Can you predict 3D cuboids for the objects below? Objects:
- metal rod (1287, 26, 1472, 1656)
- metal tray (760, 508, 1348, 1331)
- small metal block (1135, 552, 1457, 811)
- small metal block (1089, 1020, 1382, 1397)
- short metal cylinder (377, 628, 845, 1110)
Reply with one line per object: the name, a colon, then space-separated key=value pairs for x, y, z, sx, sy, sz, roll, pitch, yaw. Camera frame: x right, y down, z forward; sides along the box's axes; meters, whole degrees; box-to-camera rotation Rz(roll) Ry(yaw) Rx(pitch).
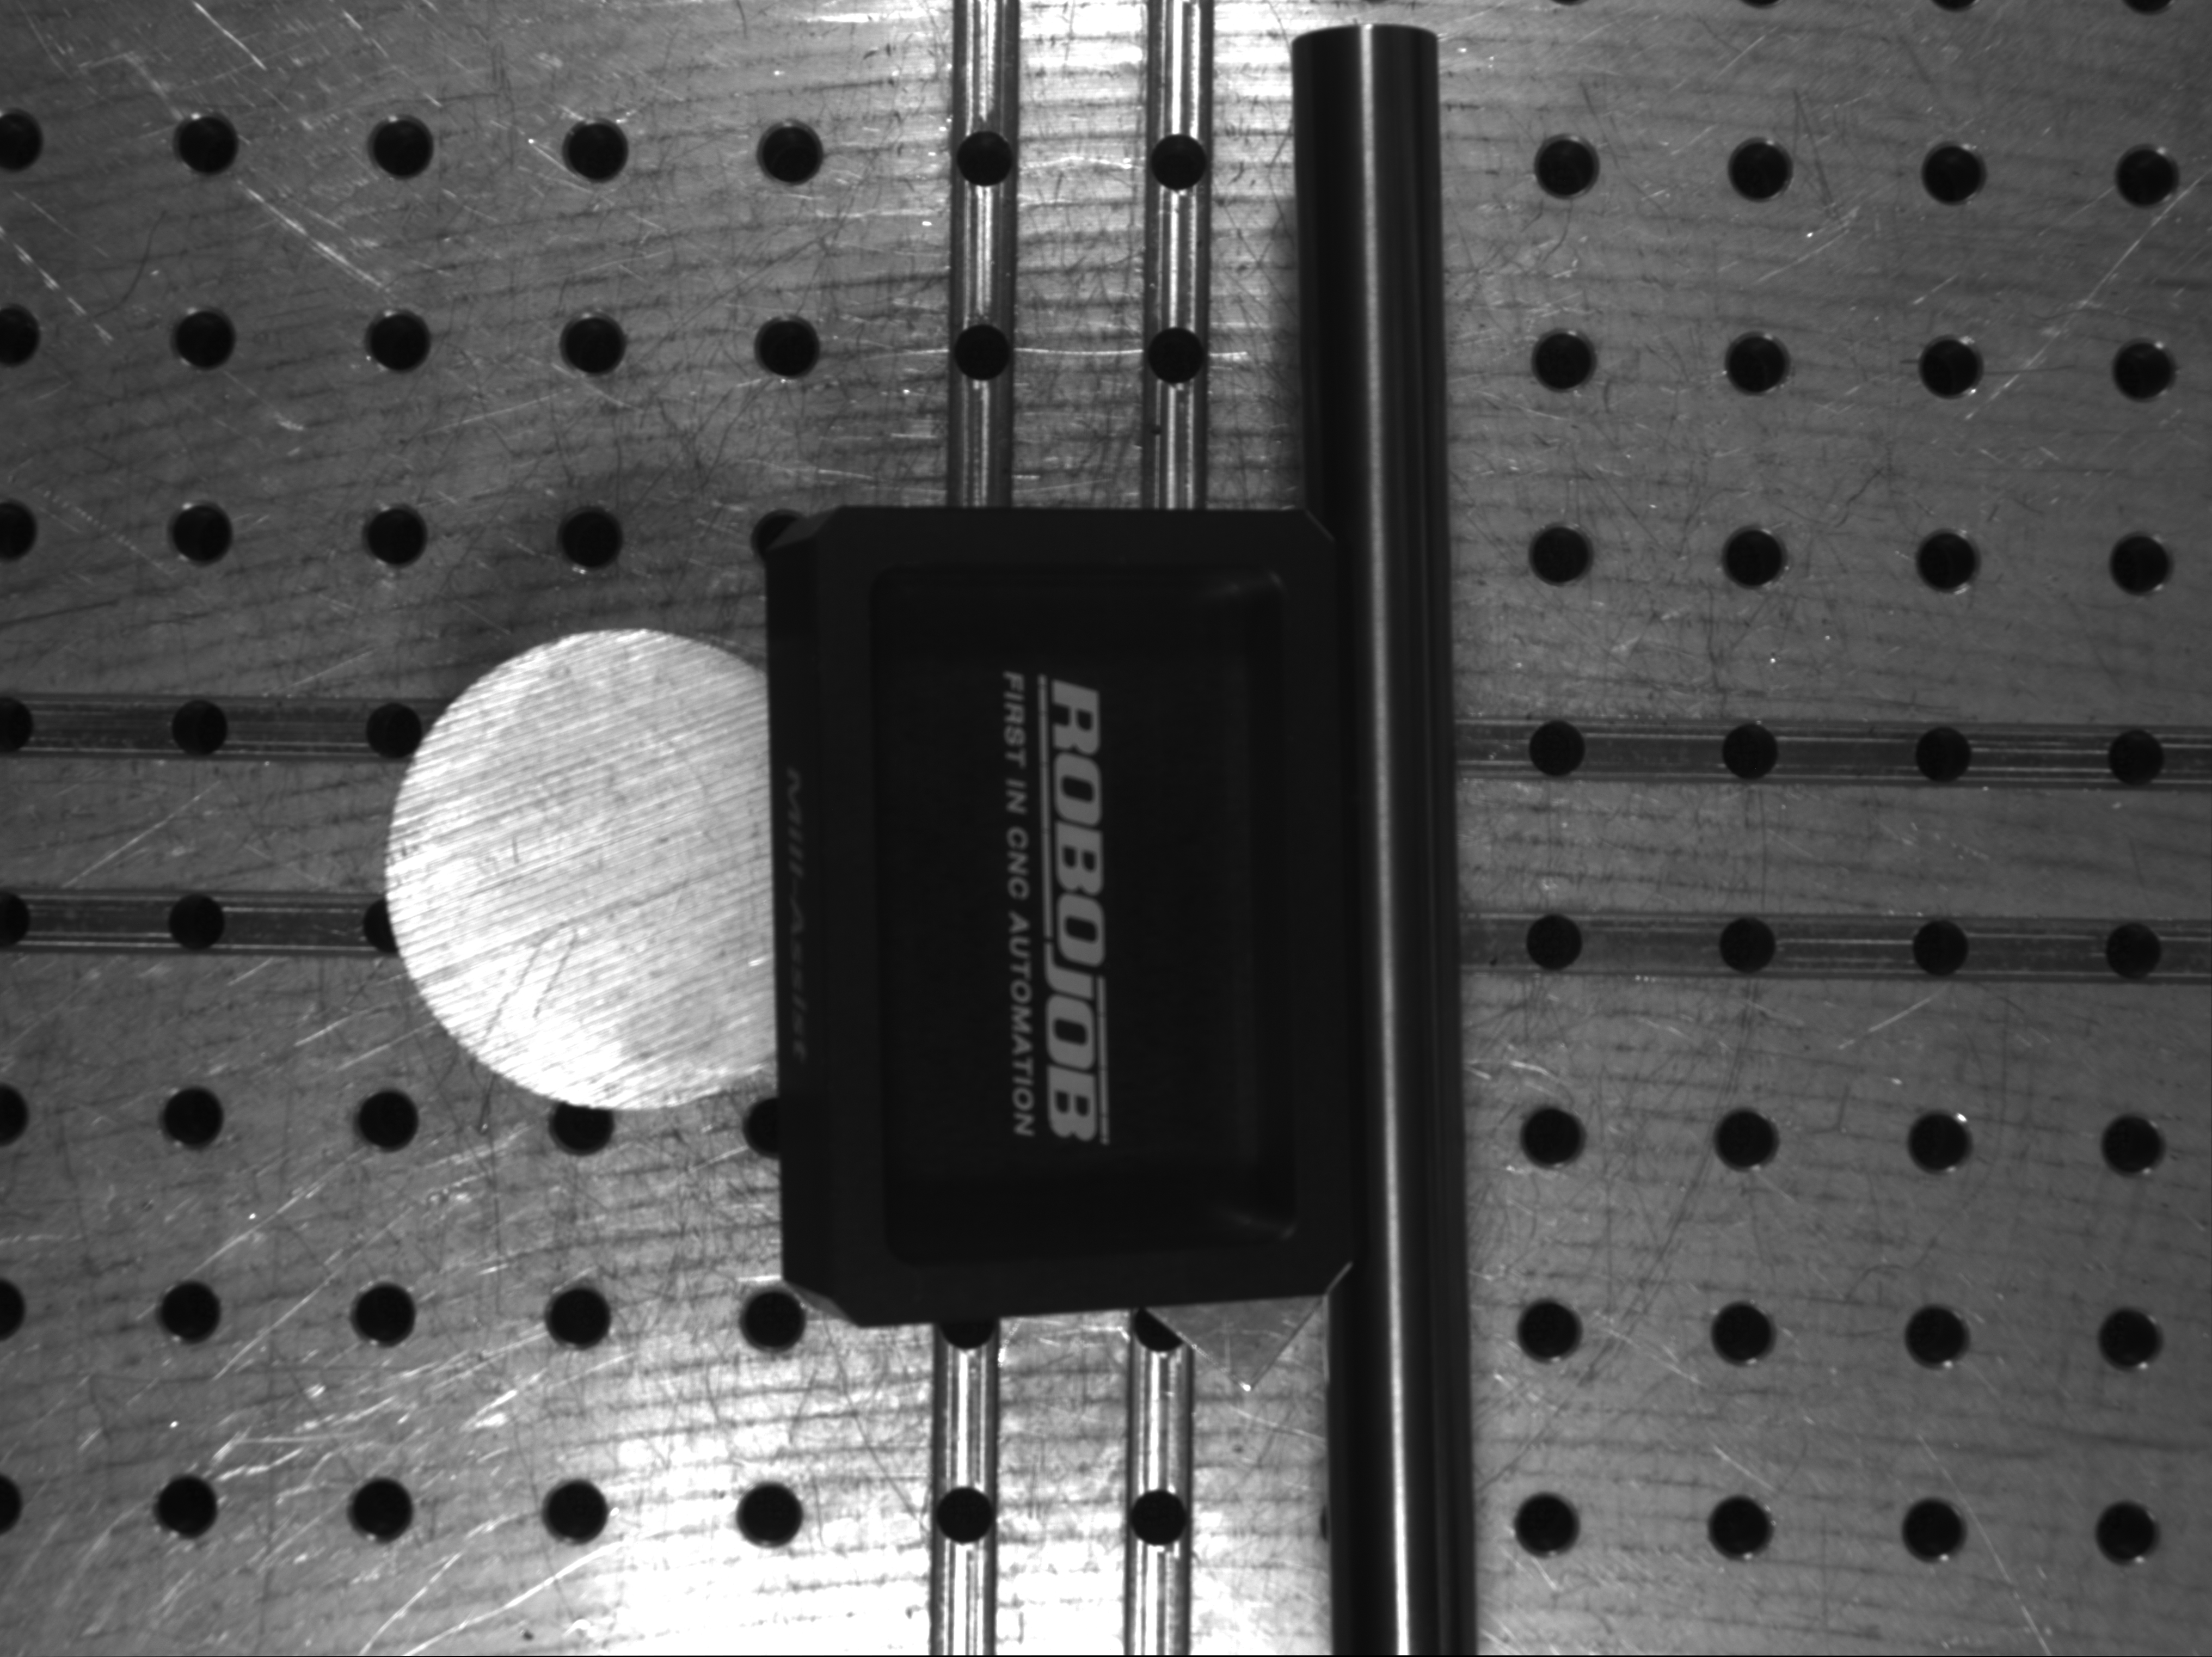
metal rod: x=0.047 y=0.016 z=0.622 sx=0.025 sy=0.025 sz=0.300 roll=-1 pitch=90 yaw=0
metal tray: x=-0.008 y=0.014 z=0.605 sx=0.090 sy=0.030 sz=0.130 roll=-1 pitch=90 yaw=-20
small metal block: x=0.030 y=-0.025 z=0.648 sx=0.050 sy=0.025 sz=0.050 roll=-15 pitch=90 yaw=0
small metal block: x=0.020 y=0.063 z=0.647 sx=0.050 sy=0.025 sz=0.050 roll=39 pitch=90 yaw=0
short metal cylinder: x=-0.081 y=0.007 z=0.633 sx=0.080 sy=0.050 sz=0.080 roll=0 pitch=90 yaw=0
